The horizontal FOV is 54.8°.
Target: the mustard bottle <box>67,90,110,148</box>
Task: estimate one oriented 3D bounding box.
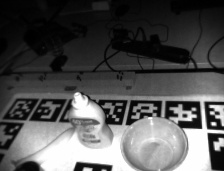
[{"bbox_3d":[-0.070,0.083,0.554,0.095,0.193,0.058,-1,41,16],"label":"mustard bottle"}]

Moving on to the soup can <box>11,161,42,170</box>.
[{"bbox_3d":[-0.193,0.224,0.508,0.068,0.103,0.067,-7,41,7],"label":"soup can"}]

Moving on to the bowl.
[{"bbox_3d":[0.106,0.153,0.551,0.161,0.056,0.161,-9,41,9],"label":"bowl"}]

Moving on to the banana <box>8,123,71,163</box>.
[{"bbox_3d":[-0.200,0.176,0.624,0.198,0.039,0.073,-33,34,-19],"label":"banana"}]
